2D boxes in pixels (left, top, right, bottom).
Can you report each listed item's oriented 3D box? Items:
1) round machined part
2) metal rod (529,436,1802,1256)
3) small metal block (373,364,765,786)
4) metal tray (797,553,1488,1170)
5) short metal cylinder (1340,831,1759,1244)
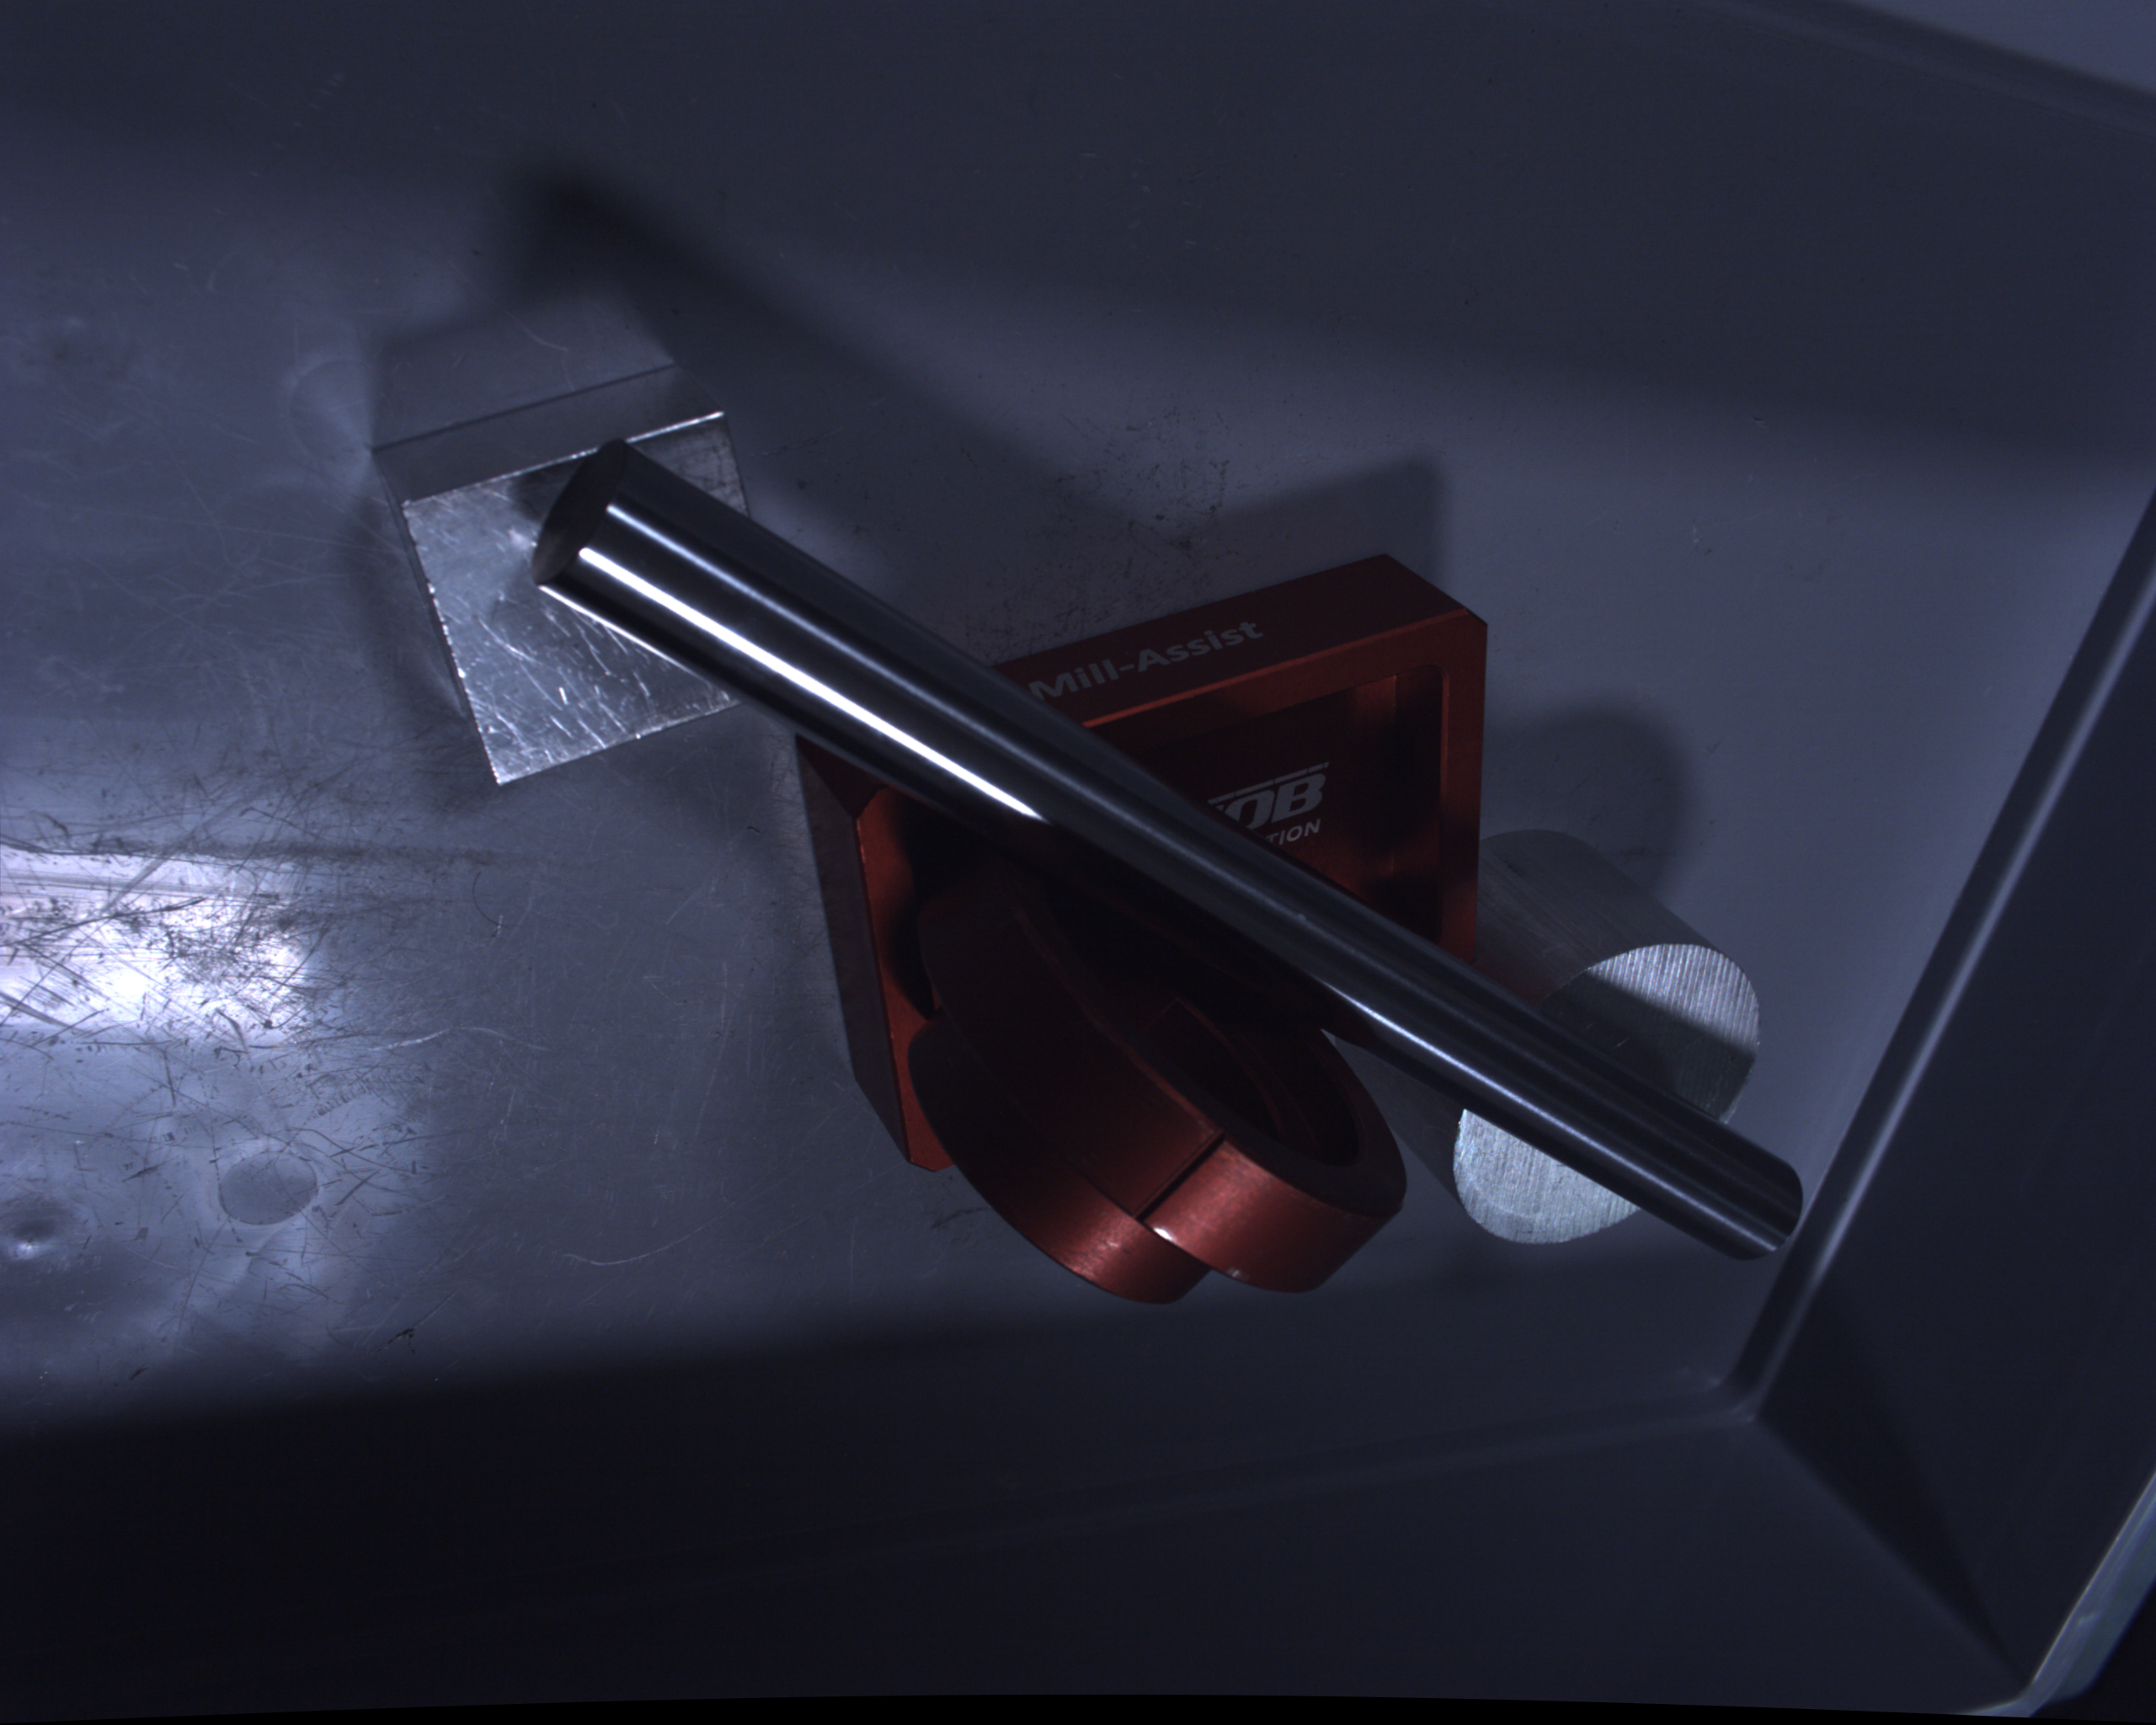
[{"bbox_3d":[0.008,0.040,0.374,0.098,0.098,0.042,31,109,-38],"label":"round machined part"},{"bbox_3d":[0.038,0.012,0.384,0.301,0.025,0.025,30,102,-32],"label":"metal rod"},{"bbox_3d":[-0.079,-0.047,0.336,0.050,0.025,0.050,-20,127,-17],"label":"small metal block"},{"bbox_3d":[0.017,-0.001,0.413,0.131,0.030,0.089,-18,126,-19],"label":"metal tray"},{"bbox_3d":[0.106,0.040,0.475,0.081,0.050,0.079,-14,125,-21],"label":"short metal cylinder"}]
